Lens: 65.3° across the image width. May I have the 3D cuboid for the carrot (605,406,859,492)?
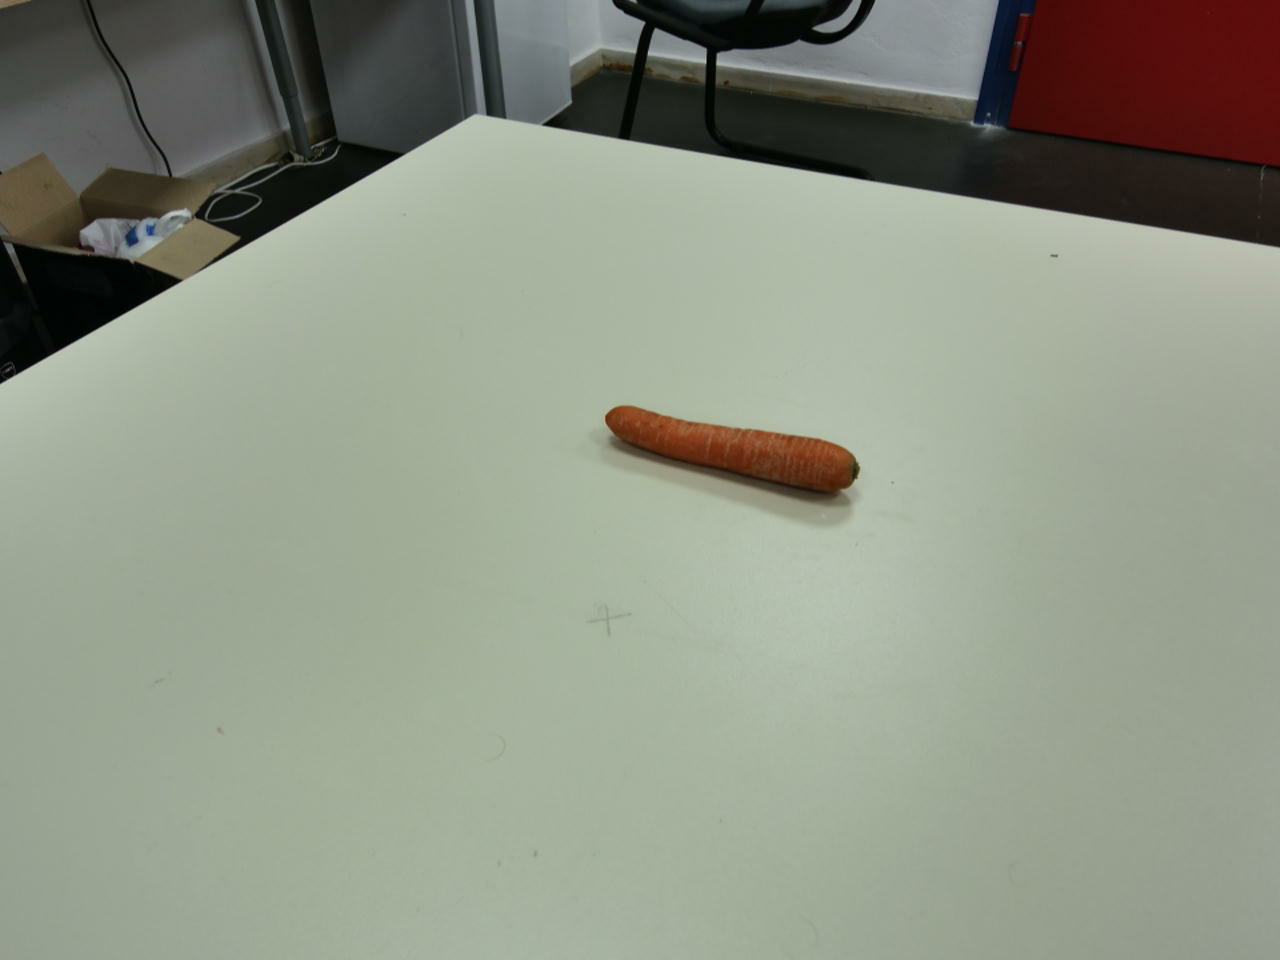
[{"bbox_3d":[0.040,-0.017,0.460,0.122,0.023,0.024,15,40,19],"label":"carrot"}]
